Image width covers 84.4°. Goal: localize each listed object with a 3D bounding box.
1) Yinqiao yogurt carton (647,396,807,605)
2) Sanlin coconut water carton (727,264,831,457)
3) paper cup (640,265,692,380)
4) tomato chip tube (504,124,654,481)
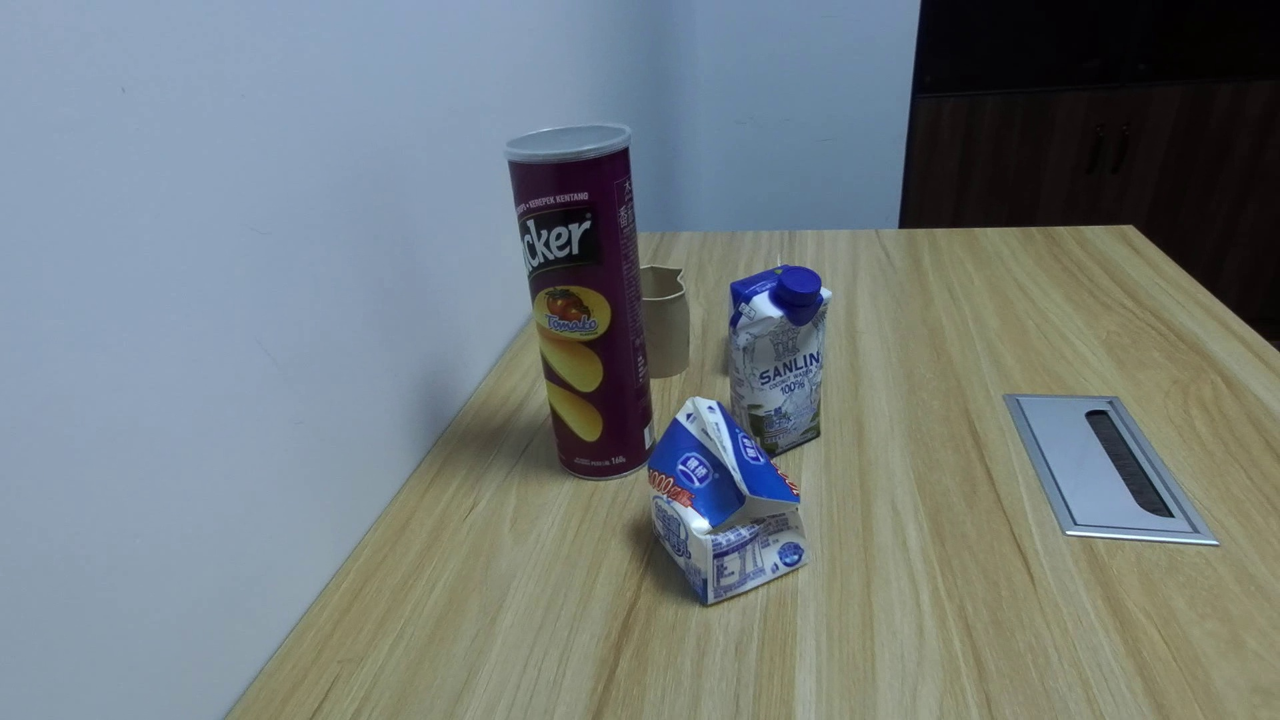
[{"bbox_3d":[0.049,0.074,0.418,0.077,0.093,0.083,-17,31,-18],"label":"Yinqiao yogurt carton"},{"bbox_3d":[0.098,-0.002,0.502,0.078,0.142,0.057,-20,37,-26],"label":"Sanlin coconut water carton"},{"bbox_3d":[0.014,-0.031,0.628,0.073,0.081,0.069,11,33,29],"label":"paper cup"},{"bbox_3d":[-0.034,-0.032,0.487,0.078,0.234,0.078,-4,28,2],"label":"tomato chip tube"}]
